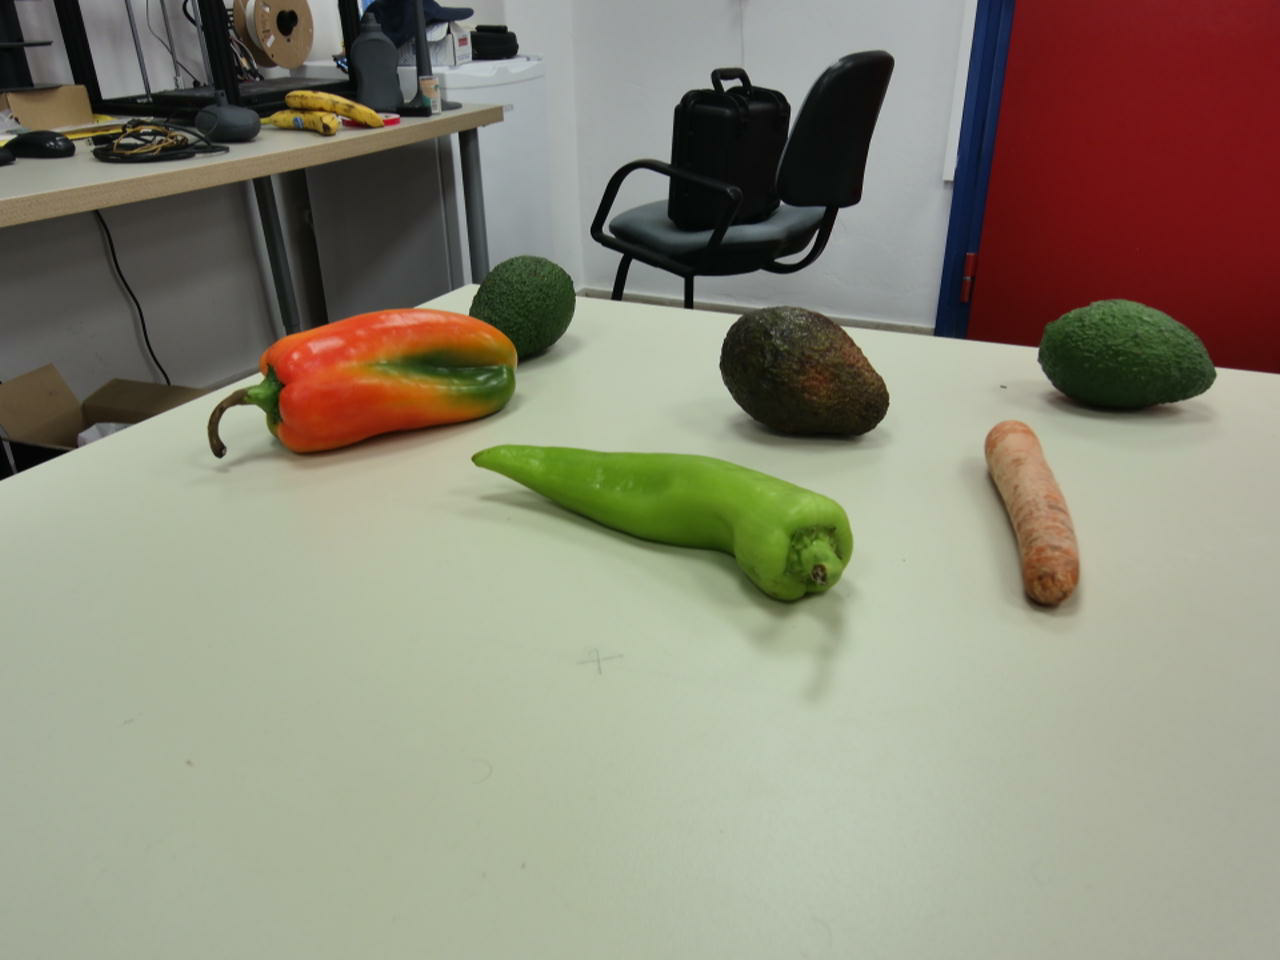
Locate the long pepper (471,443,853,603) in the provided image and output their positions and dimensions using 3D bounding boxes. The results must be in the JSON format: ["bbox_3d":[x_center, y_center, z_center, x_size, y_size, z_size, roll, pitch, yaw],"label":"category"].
[{"bbox_3d":[0.013,0.008,0.449,0.205,0.045,0.065,20,31,38],"label":"long pepper"}]
